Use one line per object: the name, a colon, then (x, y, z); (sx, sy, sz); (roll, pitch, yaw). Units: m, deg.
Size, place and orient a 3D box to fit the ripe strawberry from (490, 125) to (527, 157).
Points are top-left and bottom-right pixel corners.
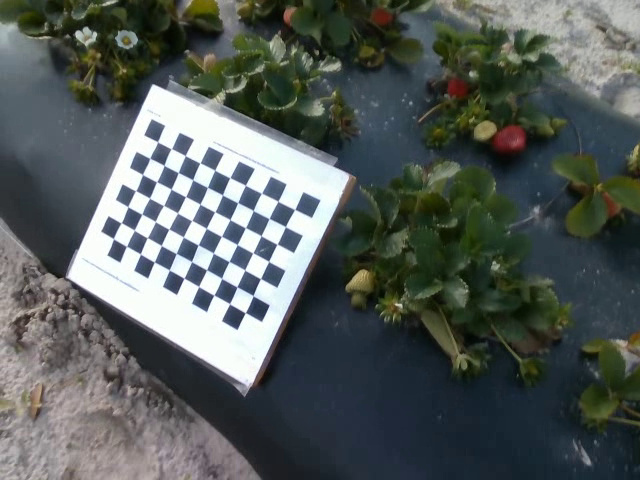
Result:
ripe strawberry: (0.272, -0.147, 0.924); (0.051, 0.048, 0.055); (-32, 22, 15)
